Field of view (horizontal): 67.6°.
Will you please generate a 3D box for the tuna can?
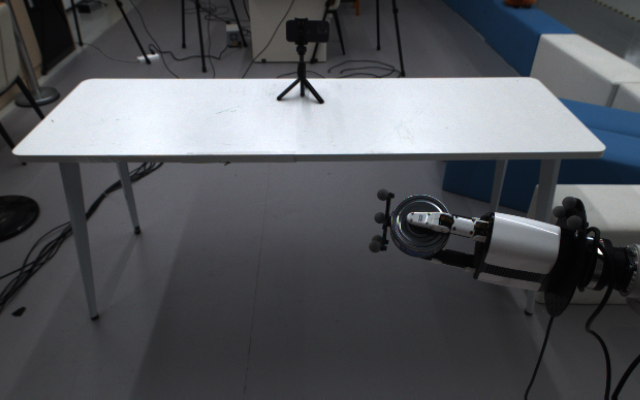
[{"bbox_3d":[0.145,0.034,0.685,0.085,0.034,0.085,-2,68,6],"label":"tuna can"}]
